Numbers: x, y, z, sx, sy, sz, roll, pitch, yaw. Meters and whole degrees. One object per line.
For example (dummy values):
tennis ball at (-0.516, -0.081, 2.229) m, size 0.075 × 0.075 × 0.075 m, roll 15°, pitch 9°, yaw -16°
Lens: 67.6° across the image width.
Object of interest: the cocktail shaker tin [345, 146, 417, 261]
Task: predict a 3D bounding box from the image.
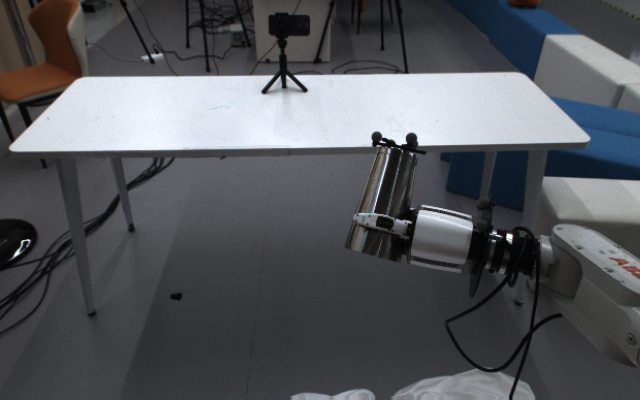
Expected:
cocktail shaker tin at (0.103, 0.005, 0.774) m, size 0.093 × 0.170 × 0.093 m, roll 15°, pitch -4°, yaw 1°
